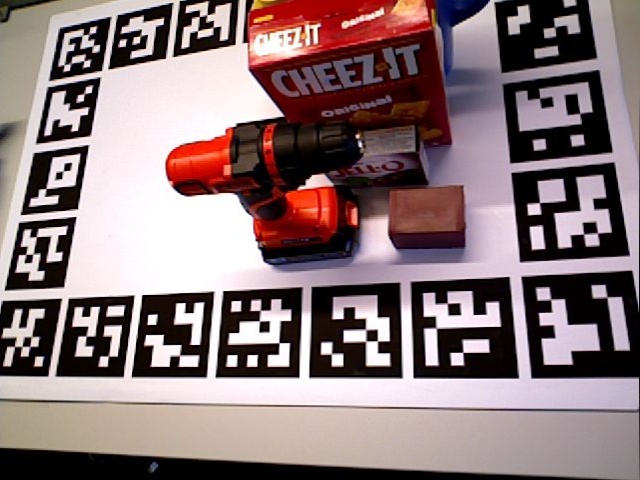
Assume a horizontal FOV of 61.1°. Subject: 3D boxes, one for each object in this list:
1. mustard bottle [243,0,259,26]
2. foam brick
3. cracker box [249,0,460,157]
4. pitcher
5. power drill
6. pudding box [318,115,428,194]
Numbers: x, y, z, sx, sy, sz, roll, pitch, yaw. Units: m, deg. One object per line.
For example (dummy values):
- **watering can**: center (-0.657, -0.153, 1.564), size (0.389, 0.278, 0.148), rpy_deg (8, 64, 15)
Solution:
- **mustard bottle**: center (-0.030, -0.242, 0.599), size (0.096, 0.192, 0.058), rpy_deg (10, 76, 20)
- **foam brick**: center (0.114, -0.020, 0.572), size (0.078, 0.051, 0.052), rpy_deg (-1, 74, 17)
- **cracker box**: center (0.047, -0.152, 0.539), size (0.165, 0.214, 0.071), rpy_deg (-6, 69, 18)
- **pitcher**: center (0.094, -0.254, 0.549), size (0.190, 0.243, 0.132), rpy_deg (3, 73, 20)
- **power drill**: center (-0.028, -0.048, 0.515), size (0.185, 0.188, 0.057), rpy_deg (-4, 67, 15)
- **pudding box**: center (0.052, -0.088, 0.577), size (0.114, 0.090, 0.038), rpy_deg (-3, 70, 20)
